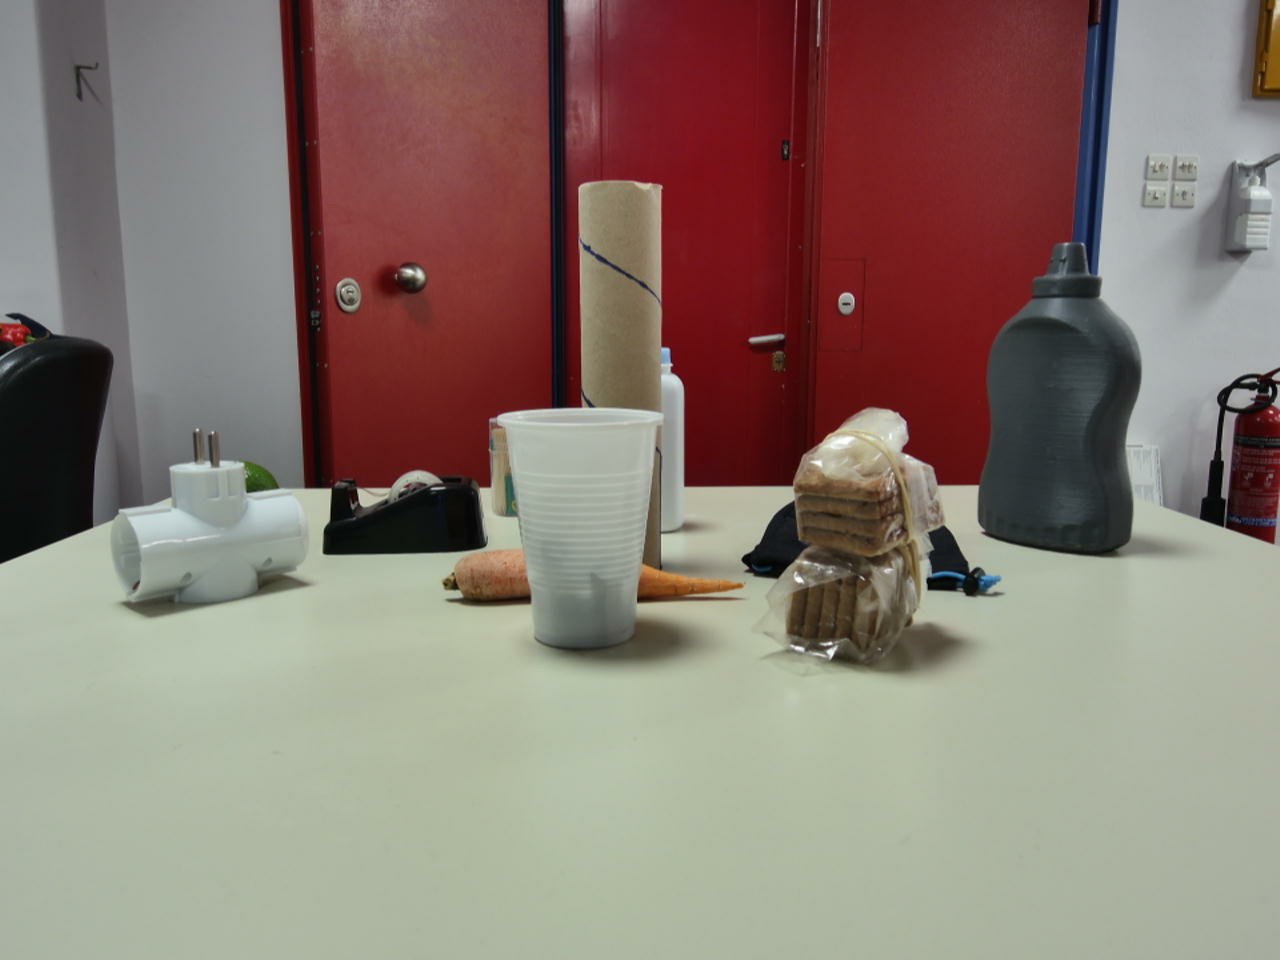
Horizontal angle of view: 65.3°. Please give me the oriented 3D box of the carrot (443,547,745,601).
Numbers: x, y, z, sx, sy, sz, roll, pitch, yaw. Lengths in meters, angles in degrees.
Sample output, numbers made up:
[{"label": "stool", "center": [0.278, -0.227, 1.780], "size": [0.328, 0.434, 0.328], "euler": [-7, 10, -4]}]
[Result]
[{"label": "carrot", "center": [-0.026, 0.052, 0.547], "size": [0.163, 0.029, 0.031], "euler": [0, 7, -1]}]
